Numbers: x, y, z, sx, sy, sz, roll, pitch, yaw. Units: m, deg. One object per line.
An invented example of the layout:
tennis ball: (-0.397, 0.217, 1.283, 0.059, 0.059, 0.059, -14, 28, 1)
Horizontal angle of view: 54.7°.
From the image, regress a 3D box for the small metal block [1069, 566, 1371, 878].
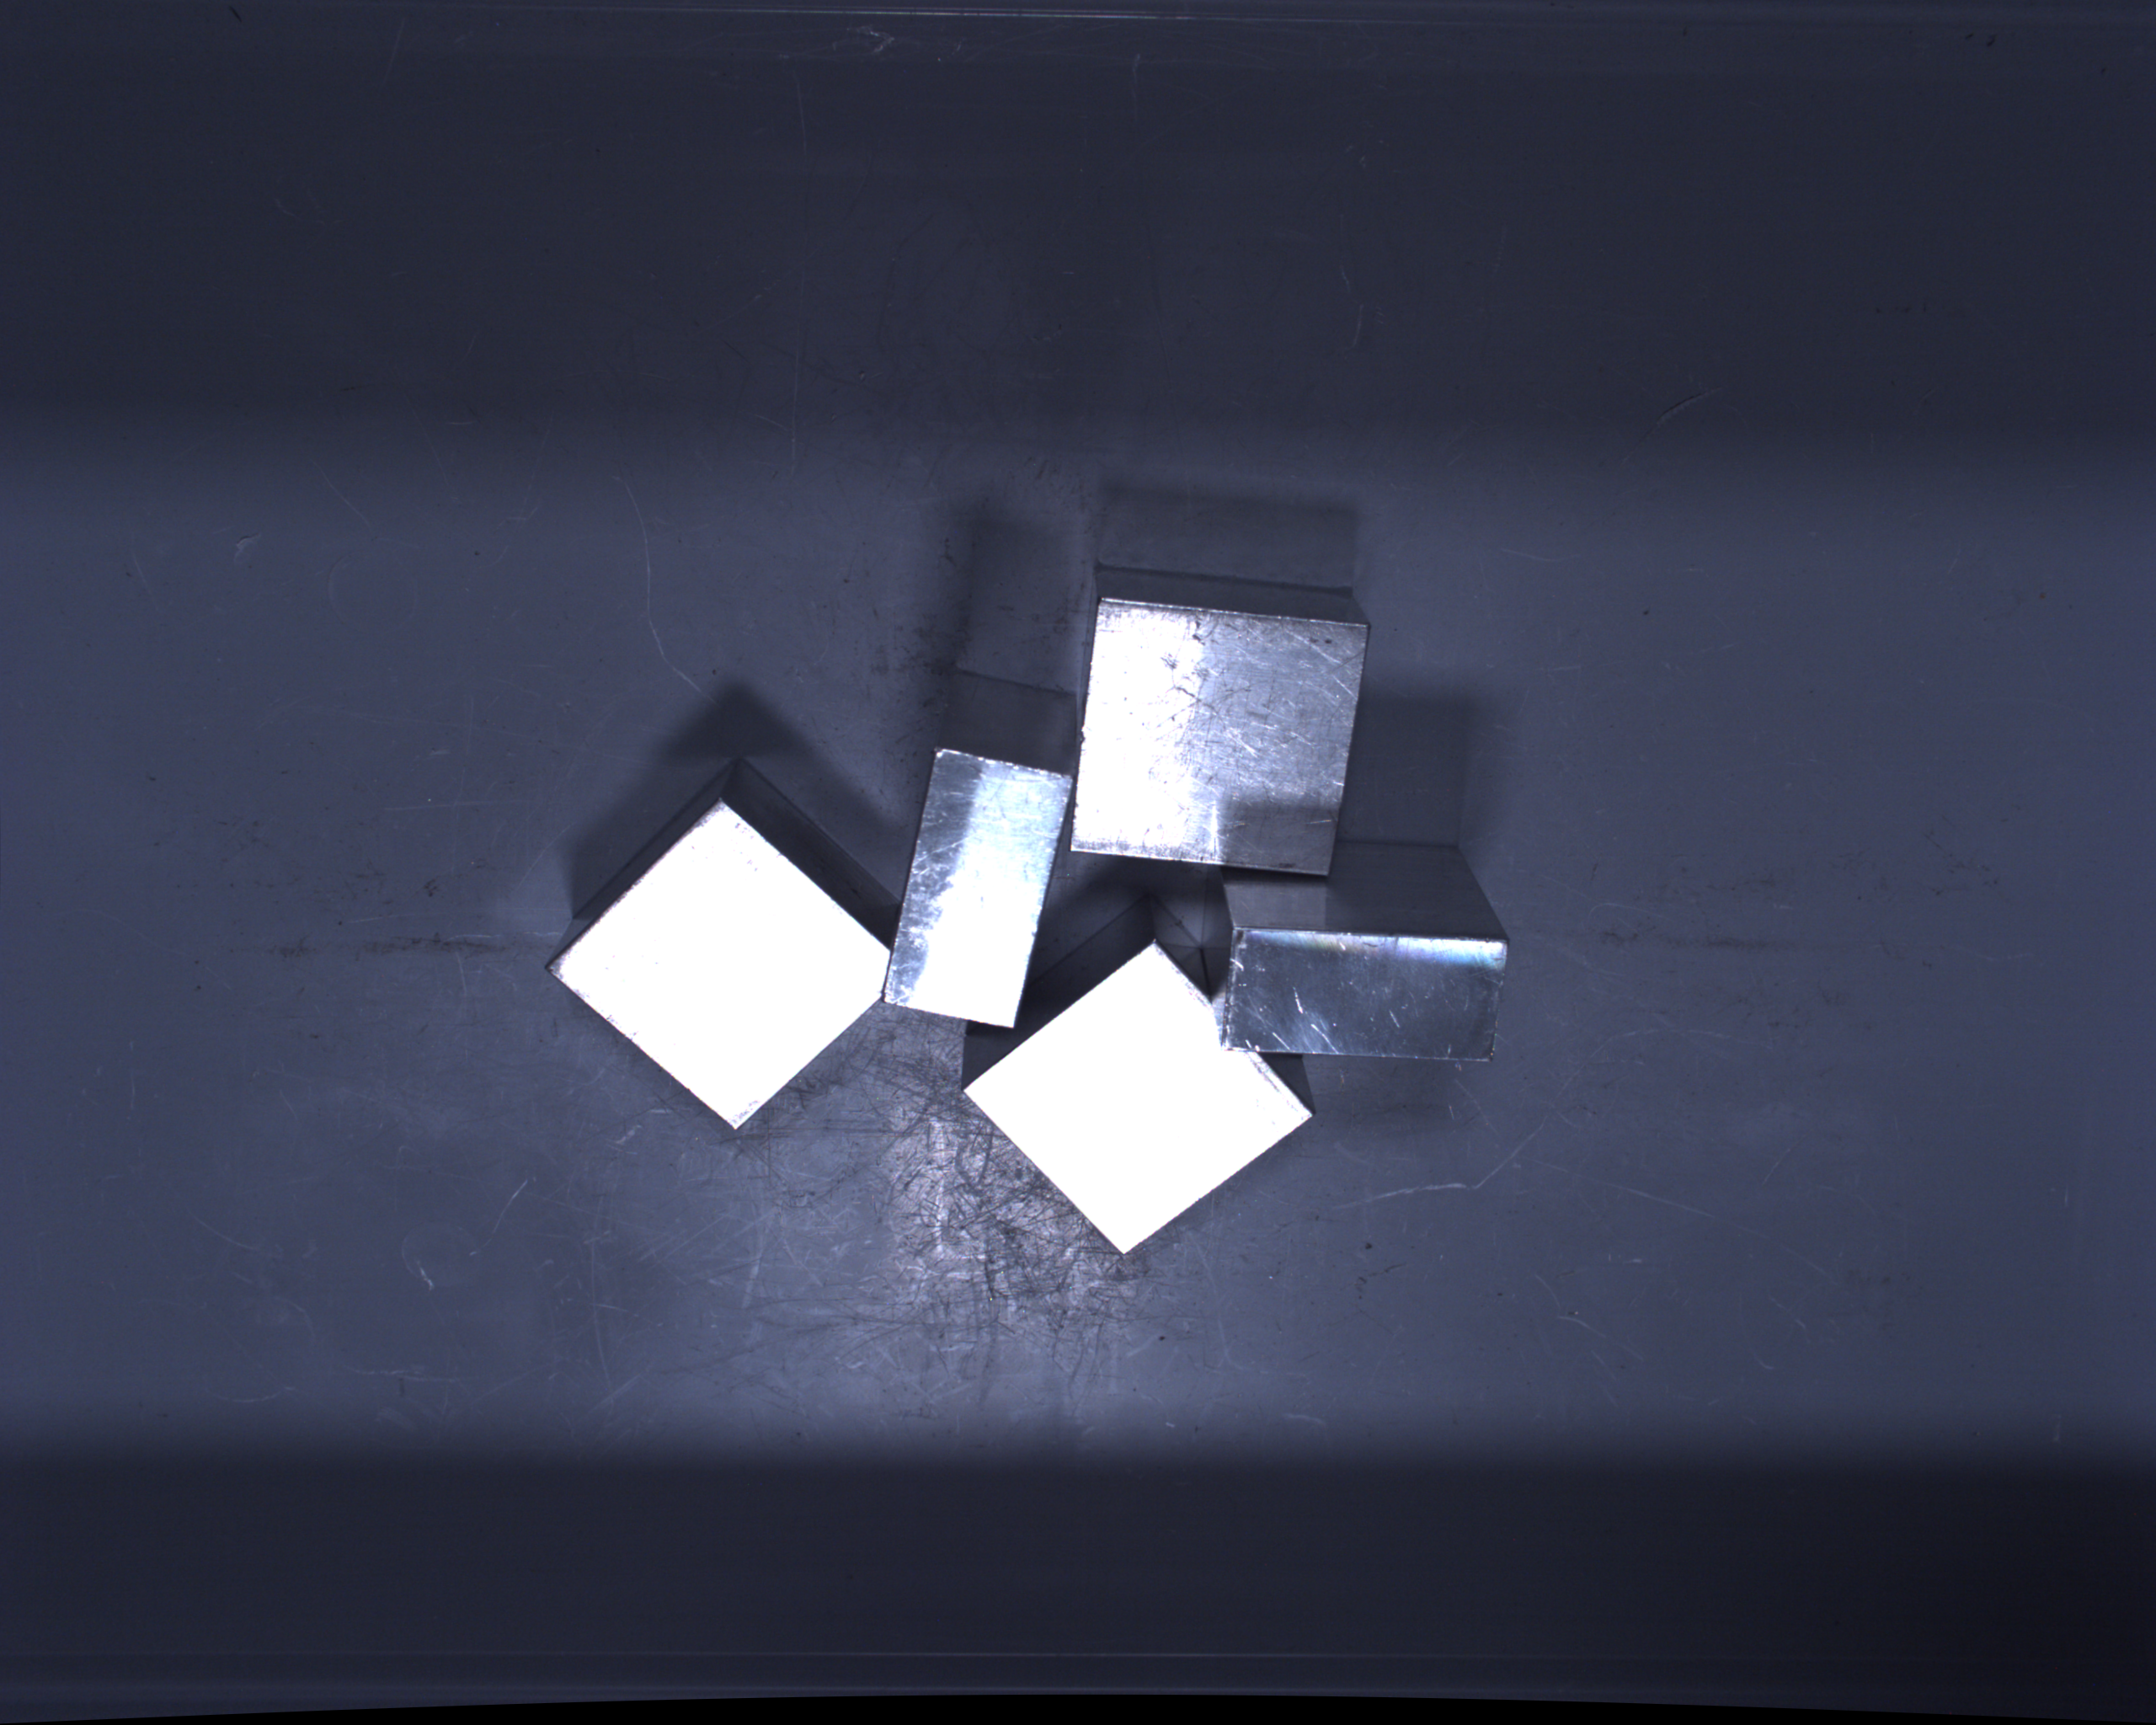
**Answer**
small metal block: (0.026, -0.027, 0.400, 0.050, 0.025, 0.050, 6, 110, -3)

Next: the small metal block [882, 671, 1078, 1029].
small metal block: (-0.018, -0.003, 0.394, 0.025, 0.050, 0.050, 12, 110, -5)

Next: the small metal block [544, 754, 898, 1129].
small metal block: (-0.068, 0.016, 0.414, 0.050, 0.025, 0.050, -43, 105, 14)

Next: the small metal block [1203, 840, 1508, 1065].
small metal block: (0.052, 0.016, 0.402, 0.050, 0.050, 0.025, 3, 110, -2)

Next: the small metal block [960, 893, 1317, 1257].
small metal block: (0.012, 0.043, 0.425, 0.050, 0.025, 0.050, -39, 106, 12)
